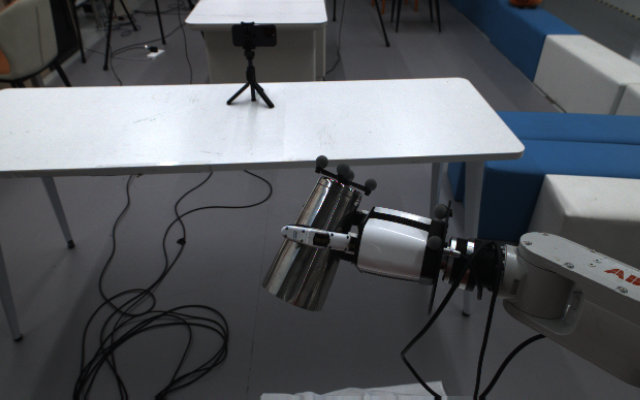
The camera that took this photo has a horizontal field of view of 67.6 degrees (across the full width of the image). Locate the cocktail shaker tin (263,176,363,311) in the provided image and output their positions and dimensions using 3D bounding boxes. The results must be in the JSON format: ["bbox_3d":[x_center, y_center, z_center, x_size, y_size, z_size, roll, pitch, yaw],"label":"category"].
[{"bbox_3d":[-0.003,0.055,0.675,0.093,0.170,0.093,23,0,0],"label":"cocktail shaker tin"}]
